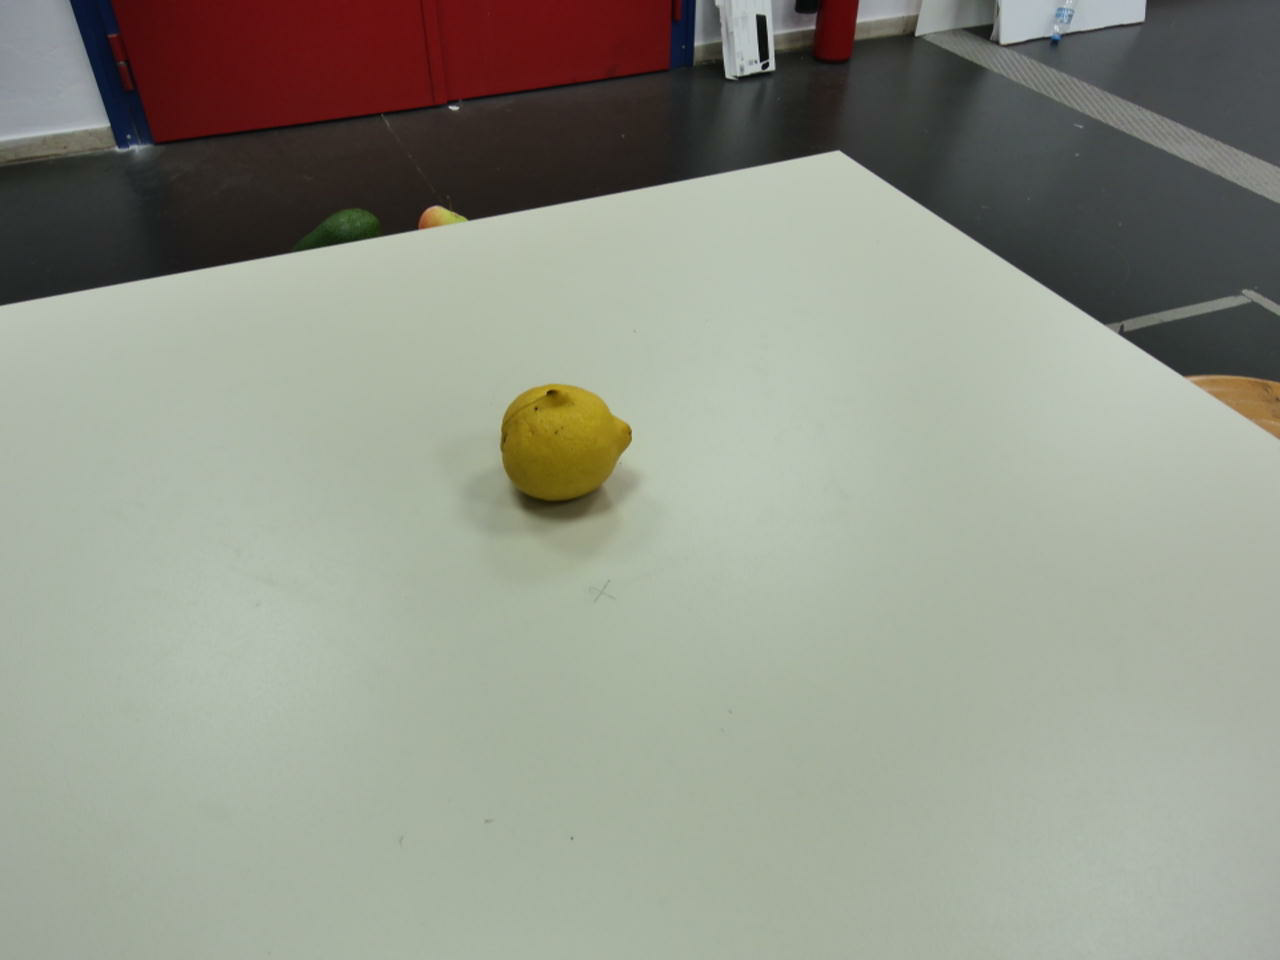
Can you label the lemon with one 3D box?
[{"bbox_3d":[-0.047,-0.024,0.582,0.071,0.071,0.070,22,43,24],"label":"lemon"}]
